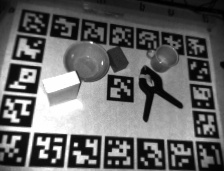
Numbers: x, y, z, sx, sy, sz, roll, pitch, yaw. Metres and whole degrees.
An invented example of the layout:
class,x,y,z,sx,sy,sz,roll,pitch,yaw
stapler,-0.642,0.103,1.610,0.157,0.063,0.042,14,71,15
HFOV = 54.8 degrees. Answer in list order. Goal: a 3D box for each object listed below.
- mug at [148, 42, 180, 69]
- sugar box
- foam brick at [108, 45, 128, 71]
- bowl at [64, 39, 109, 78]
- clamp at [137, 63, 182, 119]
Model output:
class,x,y,z,sx,sy,sz,roll,pitch,yaw
mug,0.192,-0.119,0.836,0.117,0.081,0.093,31,69,-5
sugar box,-0.160,0.011,0.666,0.093,0.176,0.045,-20,79,-18
foam brick,0.020,-0.103,0.816,0.053,0.051,0.078,-22,80,-17
bowl,-0.094,-0.090,0.777,0.162,0.055,0.161,4,72,-12
clamp,0.152,0.005,0.807,0.166,0.036,0.202,-18,79,-15
